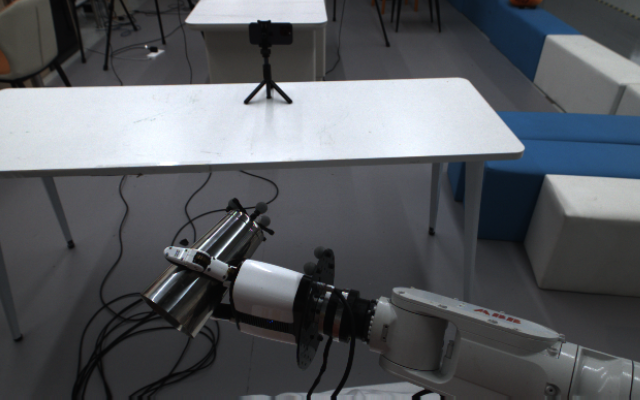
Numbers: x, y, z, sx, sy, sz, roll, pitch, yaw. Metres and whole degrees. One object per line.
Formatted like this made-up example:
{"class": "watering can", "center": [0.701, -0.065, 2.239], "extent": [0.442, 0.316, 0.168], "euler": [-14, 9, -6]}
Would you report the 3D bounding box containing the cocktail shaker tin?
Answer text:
{"class": "cocktail shaker tin", "center": [-0.157, 0.091, 0.676], "extent": [0.093, 0.093, 0.170], "euler": [23, 57, 27]}
